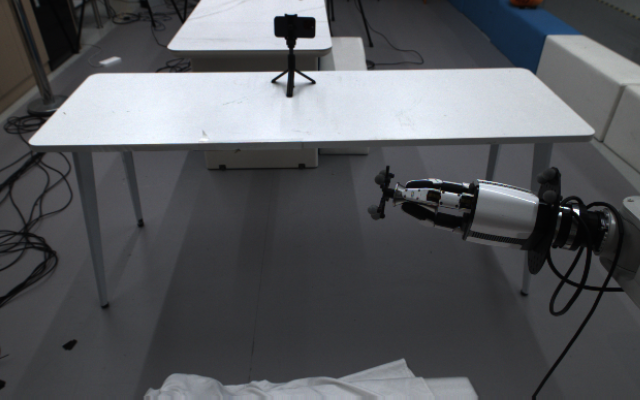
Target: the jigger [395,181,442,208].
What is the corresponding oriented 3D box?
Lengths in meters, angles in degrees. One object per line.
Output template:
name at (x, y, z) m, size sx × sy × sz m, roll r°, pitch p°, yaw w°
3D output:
jigger at (0.157, -0.007, 0.757) m, size 0.071 × 0.043 × 0.043 m, roll 10°, pitch 35°, yaw 15°
